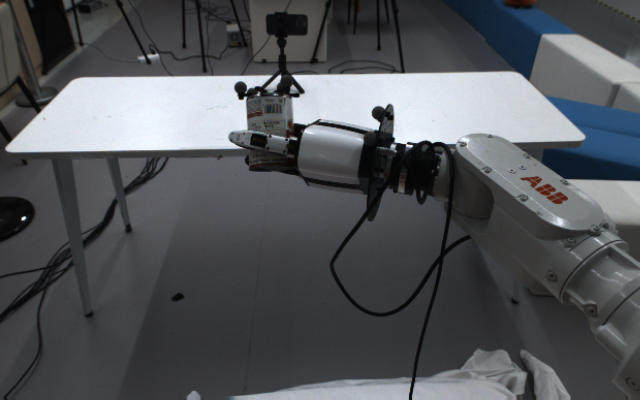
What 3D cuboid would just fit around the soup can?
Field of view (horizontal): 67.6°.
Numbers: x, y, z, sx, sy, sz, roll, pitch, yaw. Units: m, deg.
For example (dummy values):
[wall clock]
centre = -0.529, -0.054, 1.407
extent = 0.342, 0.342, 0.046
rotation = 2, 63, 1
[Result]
[soup can]
centre = -0.069, -0.093, 0.683
extent = 0.067, 0.101, 0.067
rotation = -3, -1, 0
